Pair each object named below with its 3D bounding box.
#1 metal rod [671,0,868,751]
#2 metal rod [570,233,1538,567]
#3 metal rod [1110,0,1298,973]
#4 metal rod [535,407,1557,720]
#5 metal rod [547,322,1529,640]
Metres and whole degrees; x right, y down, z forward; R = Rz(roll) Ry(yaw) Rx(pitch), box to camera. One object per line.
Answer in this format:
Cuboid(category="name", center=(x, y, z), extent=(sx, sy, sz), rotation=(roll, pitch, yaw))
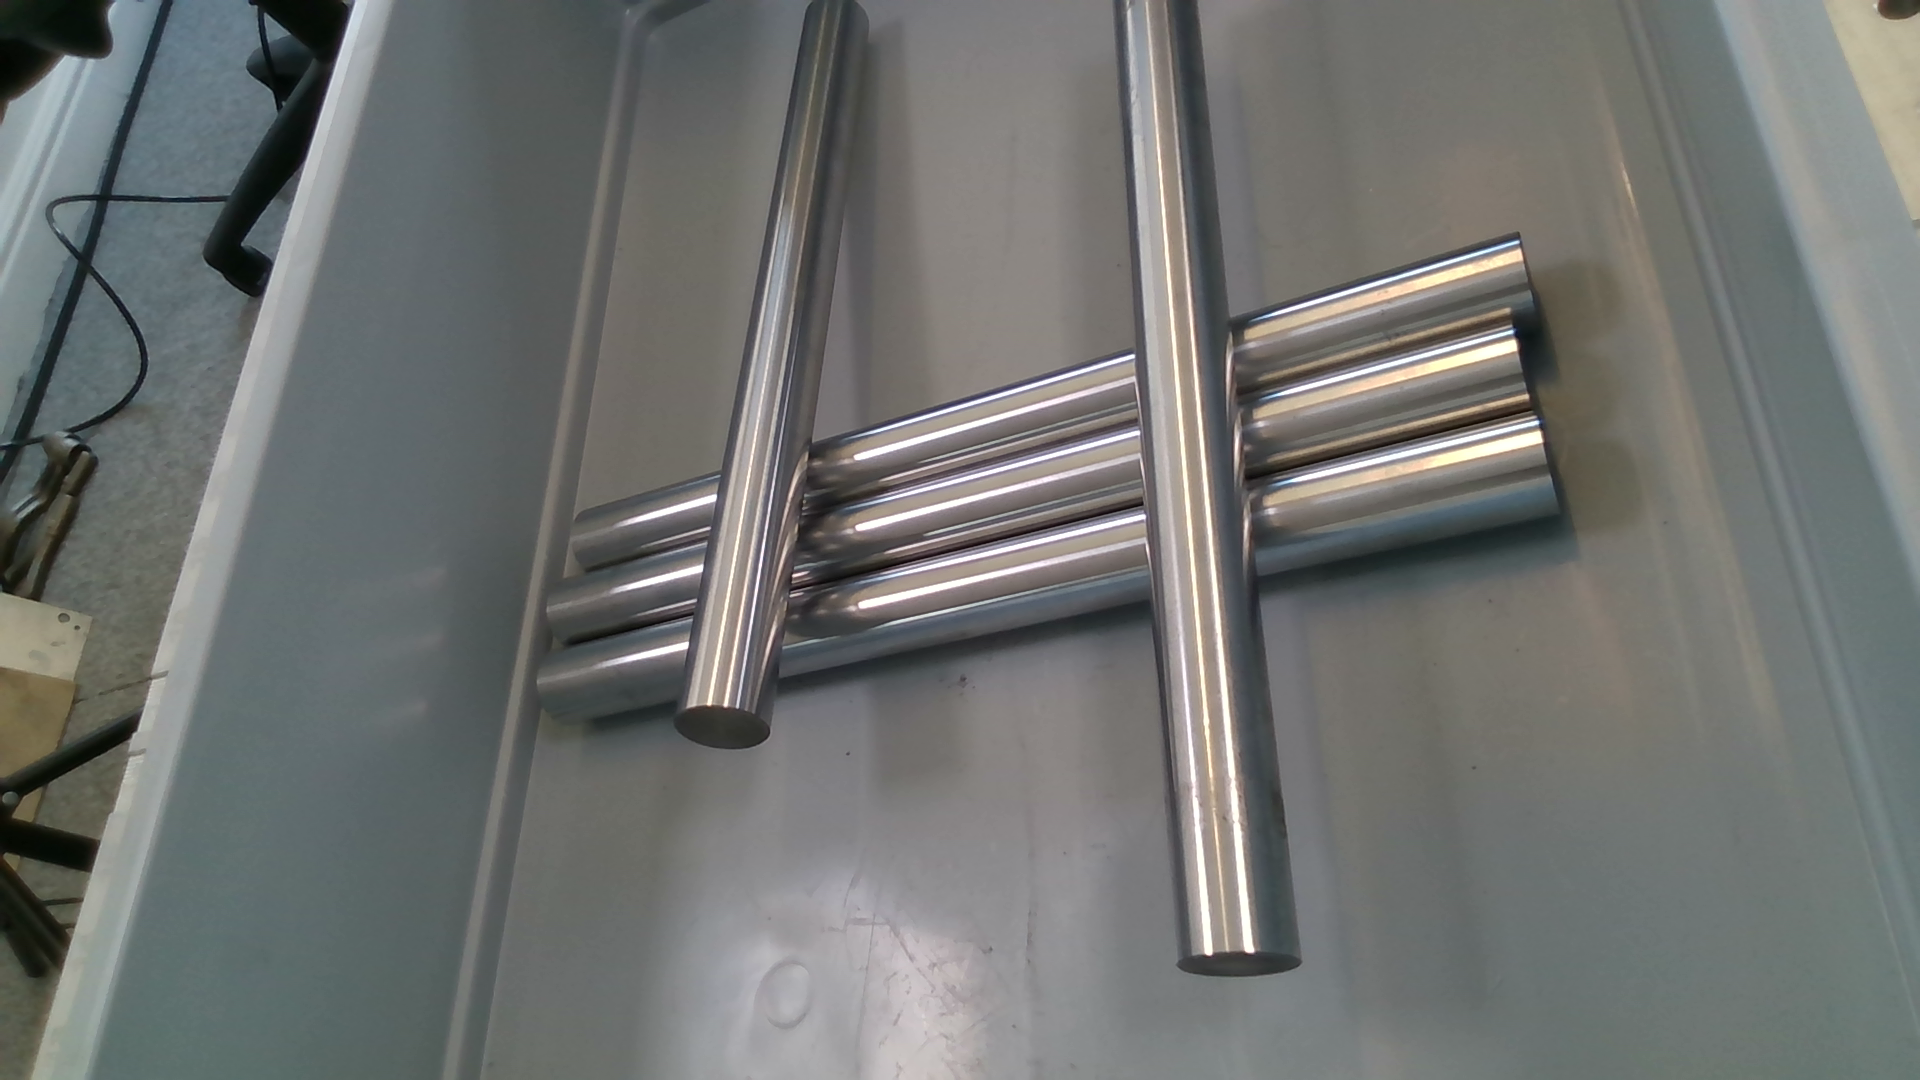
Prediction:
Cuboid(category="metal rod", center=(-0.055, -0.074, 0.442), extent=(0.025, 0.025, 0.299), rotation=(-15, 52, 25))
Cuboid(category="metal rod", center=(0.008, -0.031, 0.404), extent=(0.300, 0.025, 0.025), rotation=(-14, 59, 25))
Cuboid(category="metal rod", center=(0.057, -0.047, 0.349), extent=(0.025, 0.025, 0.299), rotation=(-14, 59, 25))
Cuboid(category="metal rod", center=(0.003, 0.014, 0.382), extent=(0.300, 0.025, 0.025), rotation=(-14, 59, 25))
Cuboid(category="metal rod", center=(0.003, -0.008, 0.395), extent=(0.300, 0.025, 0.025), rotation=(-14, 59, 25))
